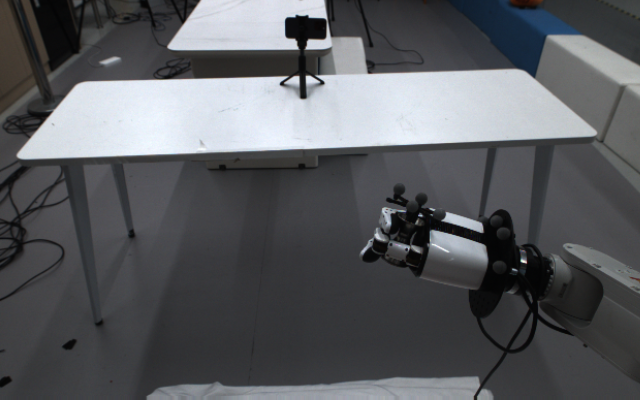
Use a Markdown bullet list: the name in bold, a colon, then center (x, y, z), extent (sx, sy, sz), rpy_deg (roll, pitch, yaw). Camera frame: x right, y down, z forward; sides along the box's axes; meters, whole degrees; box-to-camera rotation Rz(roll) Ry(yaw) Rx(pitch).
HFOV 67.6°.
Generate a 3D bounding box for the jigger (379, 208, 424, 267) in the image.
- **jigger**: center (0.120, 0.057, 0.696), extent (0.043, 0.071, 0.043), rpy_deg (18, 17, -6)
